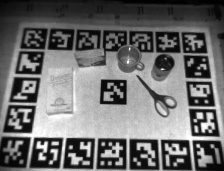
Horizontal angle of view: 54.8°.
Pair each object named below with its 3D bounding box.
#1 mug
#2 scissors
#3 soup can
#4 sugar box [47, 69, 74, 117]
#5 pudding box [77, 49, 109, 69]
[{"bbox_3d":[0.079,-0.099,0.834,0.093,0.082,0.116,-35,75,-8],"label":"mug"},{"bbox_3d":[0.170,0.040,0.825,0.088,0.016,0.202,-42,79,-2],"label":"scissors"},{"bbox_3d":[0.194,-0.061,0.821,0.068,0.102,0.067,0,71,1],"label":"soup can"},{"bbox_3d":[-0.192,0.028,0.815,0.093,0.045,0.176,-3,74,1],"label":"sugar box"},{"bbox_3d":[-0.071,-0.101,0.825,0.114,0.090,0.038,-9,79,-3],"label":"pudding box"}]
